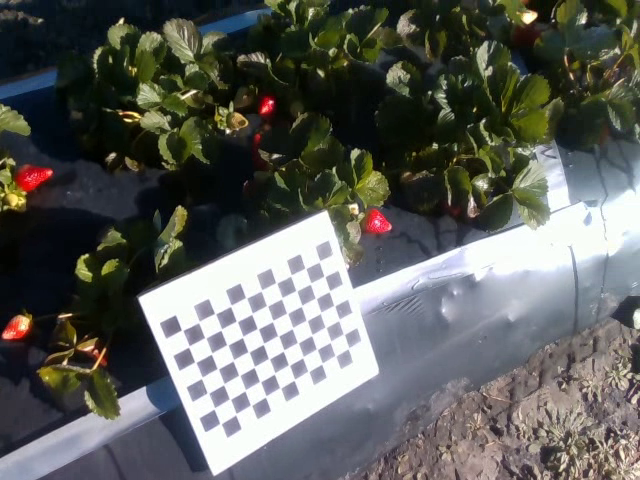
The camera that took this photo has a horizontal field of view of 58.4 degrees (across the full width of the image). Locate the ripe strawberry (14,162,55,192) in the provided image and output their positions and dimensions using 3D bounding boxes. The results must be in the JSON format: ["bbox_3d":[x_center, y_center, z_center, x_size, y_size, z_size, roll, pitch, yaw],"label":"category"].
[{"bbox_3d":[-0.444,-0.100,0.879,0.064,0.050,0.052,-15,14,-10],"label":"ripe strawberry"}]

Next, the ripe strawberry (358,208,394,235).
[{"bbox_3d":[0.097,-0.023,0.925,0.054,0.048,0.029,23,-1,-23],"label":"ripe strawberry"}]
